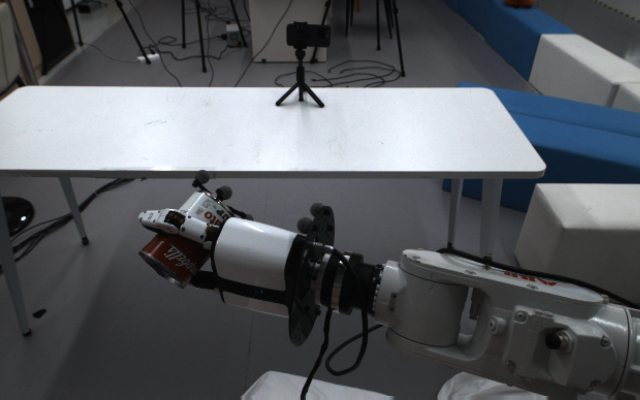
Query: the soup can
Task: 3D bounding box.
[{"bbox_3d":[-0.156,0.046,0.581,0.067,0.067,0.101,23,61,27],"label":"soup can"}]
